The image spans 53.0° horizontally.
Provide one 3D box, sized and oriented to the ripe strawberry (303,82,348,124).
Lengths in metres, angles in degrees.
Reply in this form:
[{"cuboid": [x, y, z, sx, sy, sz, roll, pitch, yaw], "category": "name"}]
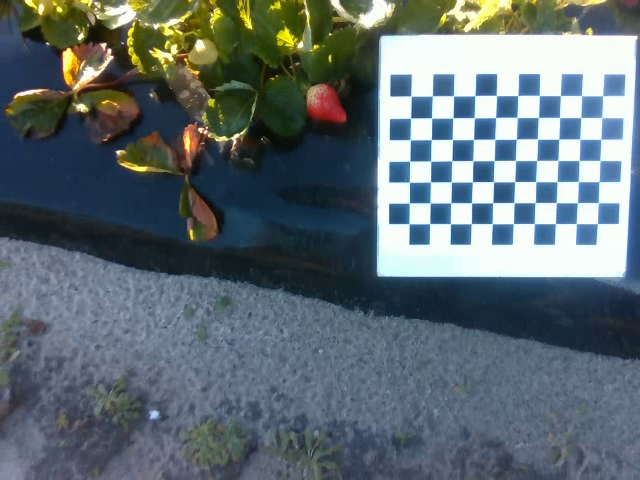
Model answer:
[{"cuboid": [0.008, -0.164, 0.778, 0.065, 0.040, 0.040, 41, 2, -4], "category": "ripe strawberry"}]
